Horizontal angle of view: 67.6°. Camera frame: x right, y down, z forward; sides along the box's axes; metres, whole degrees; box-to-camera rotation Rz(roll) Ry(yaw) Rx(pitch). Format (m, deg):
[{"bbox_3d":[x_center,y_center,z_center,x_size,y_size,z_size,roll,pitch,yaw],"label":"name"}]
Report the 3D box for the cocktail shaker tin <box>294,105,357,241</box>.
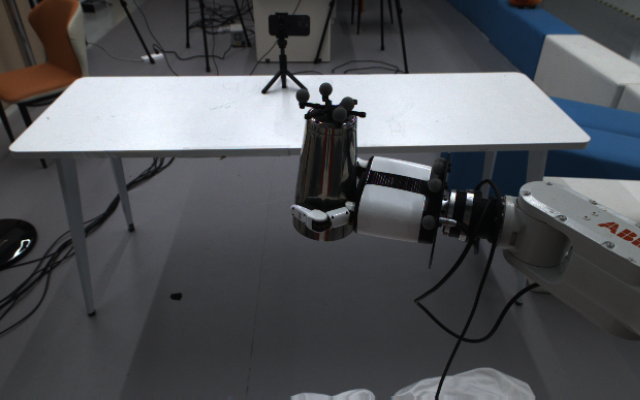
[{"bbox_3d":[0.011,-0.039,0.664,0.093,0.170,0.093,2,34,-2],"label":"cocktail shaker tin"}]
